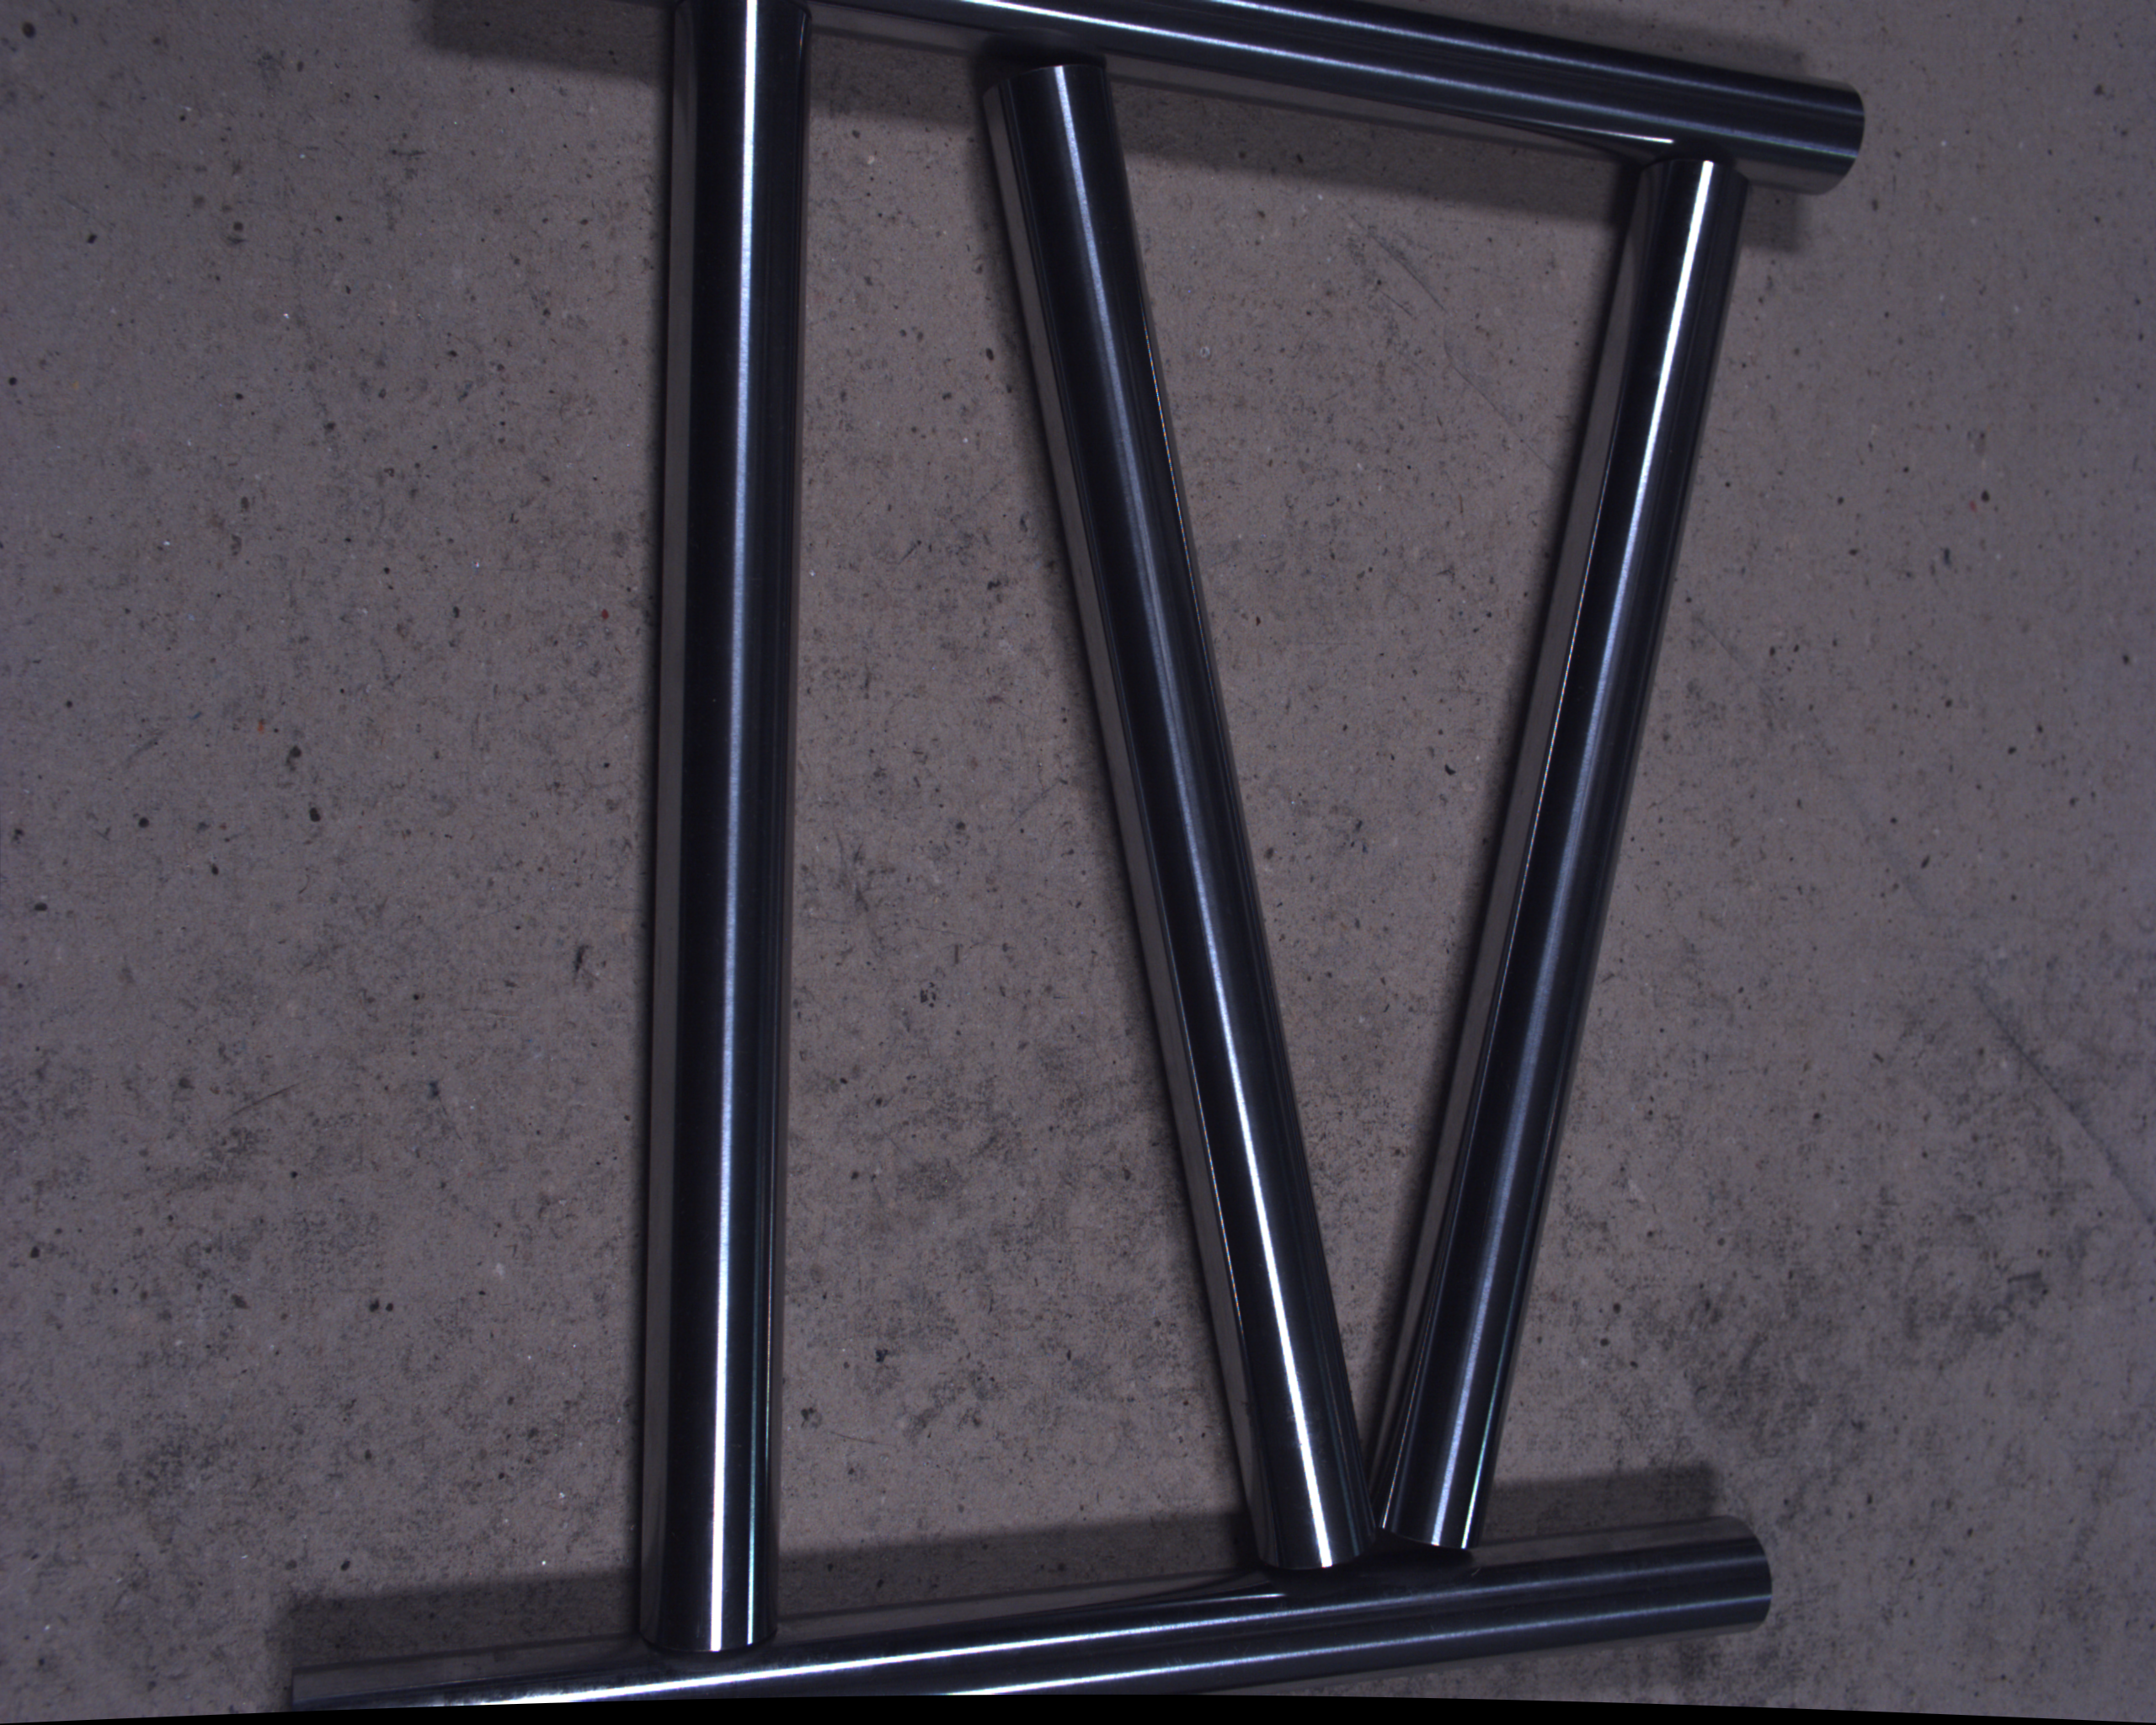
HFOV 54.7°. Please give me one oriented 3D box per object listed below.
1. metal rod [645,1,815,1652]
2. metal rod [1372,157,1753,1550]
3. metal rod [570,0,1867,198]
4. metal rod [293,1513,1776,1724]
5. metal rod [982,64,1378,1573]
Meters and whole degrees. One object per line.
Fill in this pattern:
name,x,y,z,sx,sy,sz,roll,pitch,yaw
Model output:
metal rod,-0.064,-0.008,0.386,0.025,0.025,0.298,1,90,-20
metal rod,0.104,-0.005,0.449,0.025,0.025,0.298,14,85,-20
metal rod,0.029,-0.167,0.422,0.303,0.025,0.025,1,90,-21
metal rod,0.006,0.155,0.413,0.303,0.025,0.025,1,90,-21
metal rod,0.021,-0.006,0.418,0.025,0.025,0.298,-12,94,-20
